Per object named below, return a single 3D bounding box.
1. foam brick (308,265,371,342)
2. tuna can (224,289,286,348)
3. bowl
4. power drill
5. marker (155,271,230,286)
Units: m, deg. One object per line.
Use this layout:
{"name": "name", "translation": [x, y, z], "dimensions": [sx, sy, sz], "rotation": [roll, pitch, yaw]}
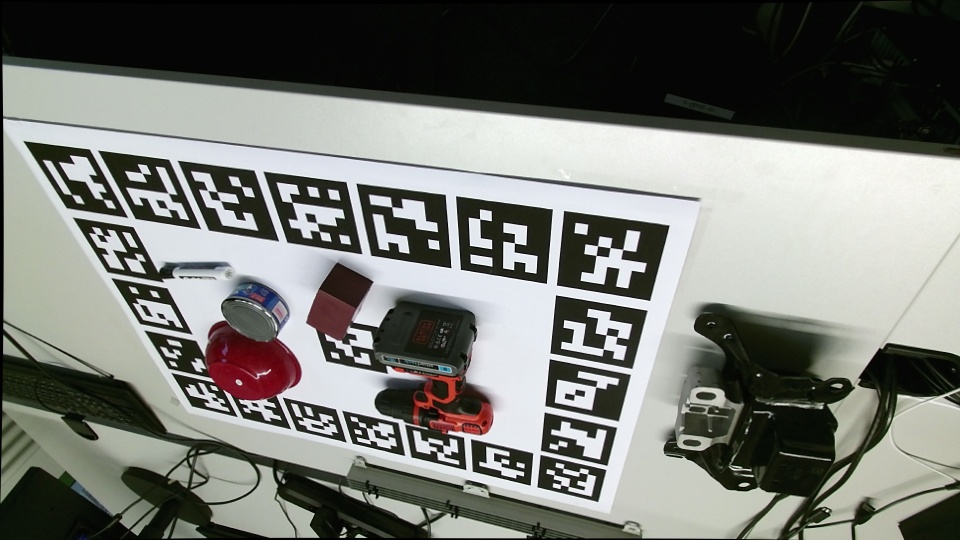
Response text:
{"name": "foam brick", "translation": [-0.181, 0.044, 0.683], "dimensions": [0.051, 0.052, 0.078], "rotation": [28, 130, -3]}
{"name": "tuna can", "translation": [-0.320, 0.069, 0.754], "dimensions": [0.086, 0.033, 0.086], "rotation": [11, 131, 13]}
{"name": "bowl", "translation": [-0.366, 0.162, 0.847], "dimensions": [0.162, 0.055, 0.162], "rotation": [8, 137, 8]}
{"name": "power drill", "translation": [-0.069, 0.150, 0.726], "dimensions": [0.185, 0.057, 0.187], "rotation": [10, 133, 16]}
{"name": "marker", "translation": [-0.402, 0.012, 0.744], "dimensions": [0.121, 0.019, 0.019], "rotation": [1, 127, 19]}
